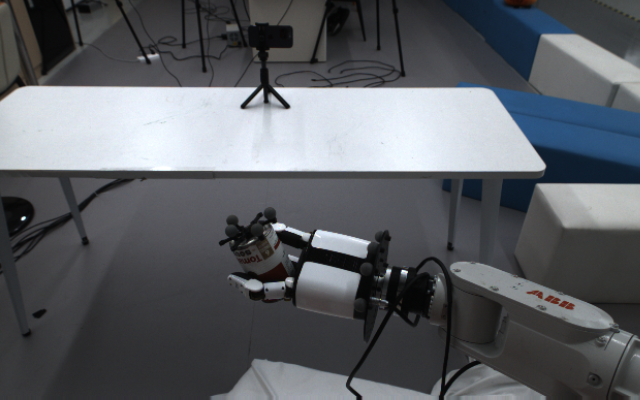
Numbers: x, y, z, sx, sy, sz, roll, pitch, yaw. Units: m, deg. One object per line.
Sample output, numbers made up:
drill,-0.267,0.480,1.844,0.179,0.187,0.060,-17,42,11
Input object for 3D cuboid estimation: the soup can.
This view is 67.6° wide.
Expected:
soup can,-0.077,0.090,0.704,0.067,0.101,0.067,-22,24,10
